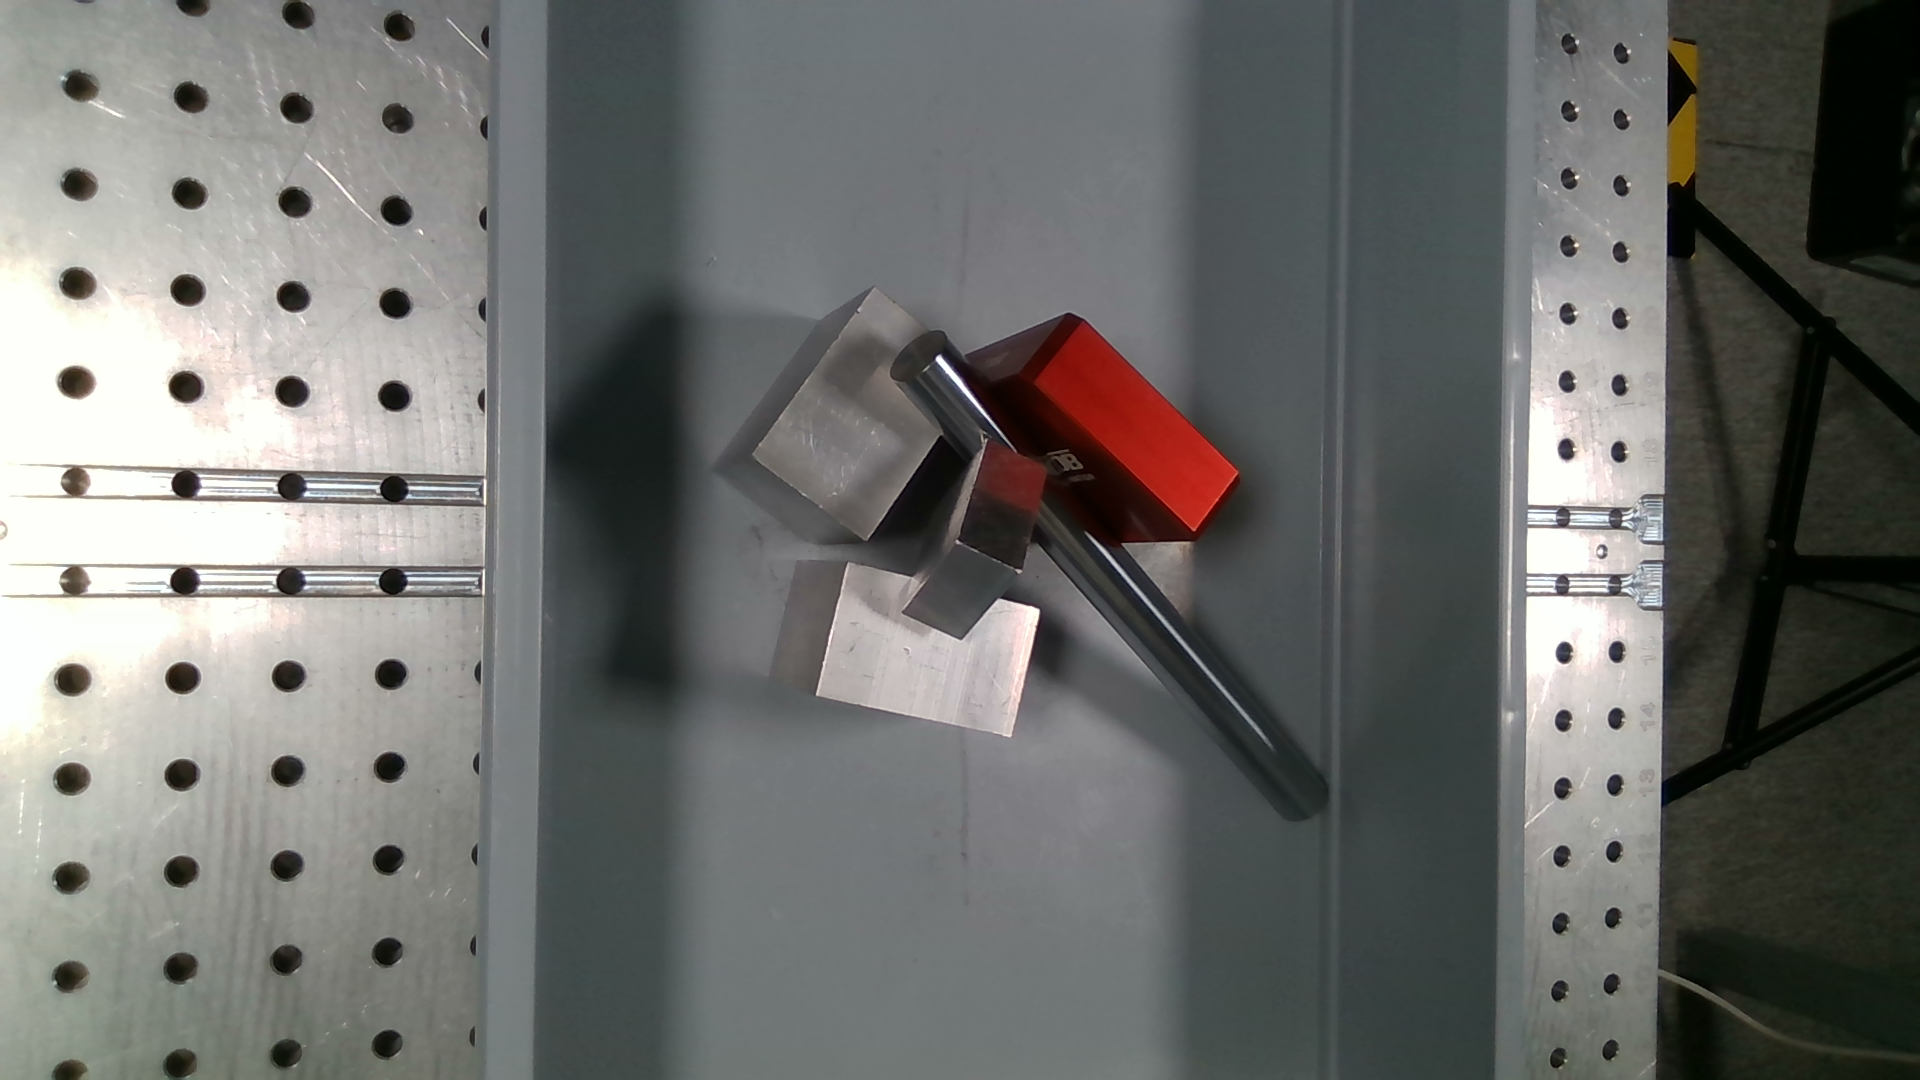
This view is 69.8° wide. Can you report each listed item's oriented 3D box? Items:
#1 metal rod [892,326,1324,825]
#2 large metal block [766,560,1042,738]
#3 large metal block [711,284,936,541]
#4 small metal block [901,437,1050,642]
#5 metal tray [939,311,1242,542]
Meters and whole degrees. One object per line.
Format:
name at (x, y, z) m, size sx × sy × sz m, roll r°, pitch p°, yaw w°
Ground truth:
metal rod at (0.072, 0.028, 0.564) m, size 0.025 × 0.025 × 0.301 m, roll -51°, pitch 123°, yaw -13°
large metal block at (-0.025, 0.042, 0.548) m, size 0.080 × 0.080 × 0.050 m, roll 14°, pitch 85°, yaw -20°
large metal block at (-0.047, -0.047, 0.540) m, size 0.050 × 0.080 × 0.080 m, roll 38°, pitch 78°, yaw -16°
small metal block at (0.006, 0.000, 0.495) m, size 0.025 × 0.050 × 0.050 m, roll 26°, pitch 50°, yaw -11°
metal tray at (0.042, -0.039, 0.544) m, size 0.090 × 0.130 × 0.030 m, roll 42°, pitch 76°, yaw -14°
